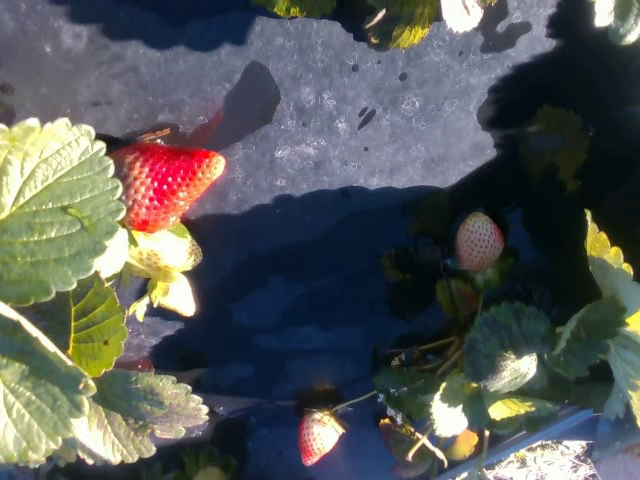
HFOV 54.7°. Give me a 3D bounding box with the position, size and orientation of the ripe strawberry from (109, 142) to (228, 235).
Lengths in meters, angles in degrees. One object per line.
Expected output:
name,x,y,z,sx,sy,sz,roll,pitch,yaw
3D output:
ripe strawberry,-0.069,-0.029,0.280,0.064,0.052,0.050,-22,-14,17
